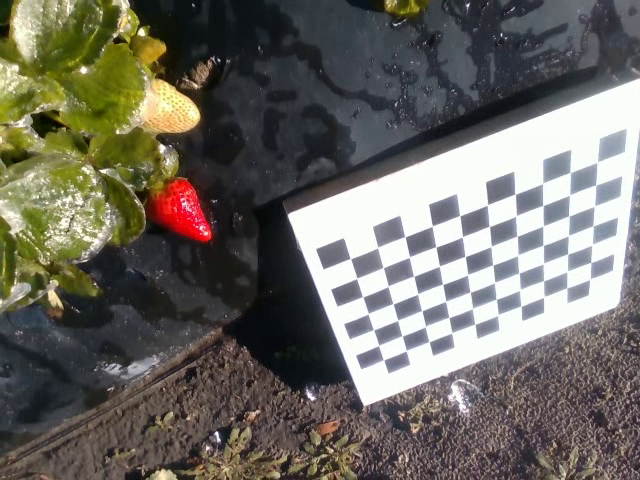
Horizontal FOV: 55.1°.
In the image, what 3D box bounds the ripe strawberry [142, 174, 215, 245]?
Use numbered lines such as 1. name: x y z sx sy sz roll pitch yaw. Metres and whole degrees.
1. ripe strawberry: -0.093 -0.012 0.422 0.041 0.052 0.040 -36 33 8
